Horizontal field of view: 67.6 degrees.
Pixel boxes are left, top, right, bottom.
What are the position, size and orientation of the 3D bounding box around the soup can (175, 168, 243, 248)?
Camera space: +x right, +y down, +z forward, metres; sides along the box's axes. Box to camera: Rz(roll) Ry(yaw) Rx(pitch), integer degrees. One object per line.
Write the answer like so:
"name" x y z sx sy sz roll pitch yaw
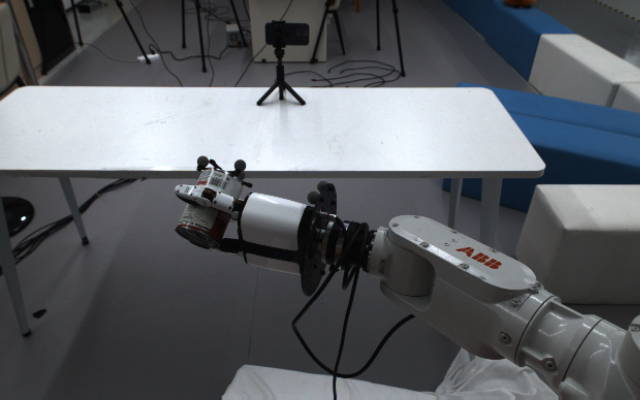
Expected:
"soup can" -0.162 0.013 0.716 0.067 0.067 0.101 12 65 15
